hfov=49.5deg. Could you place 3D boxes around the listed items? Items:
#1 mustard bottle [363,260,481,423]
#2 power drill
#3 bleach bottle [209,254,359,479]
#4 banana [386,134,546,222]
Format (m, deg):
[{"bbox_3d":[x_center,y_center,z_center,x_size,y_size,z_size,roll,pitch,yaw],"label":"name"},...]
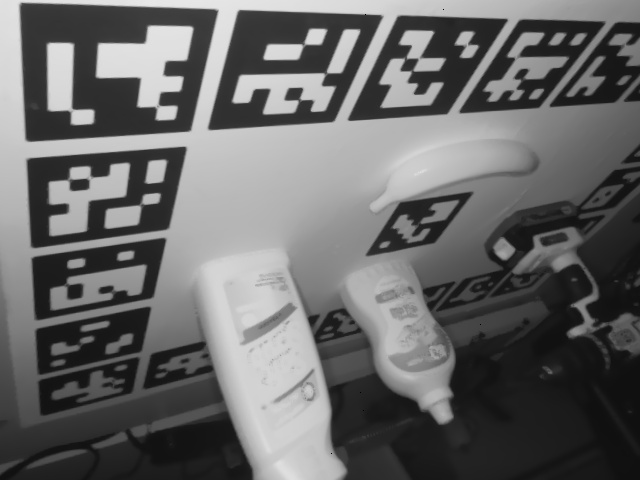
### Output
[{"bbox_3d":[0.126,0.115,0.781,0.097,0.191,0.058,-13,146,-16],"label":"mustard bottle"},{"bbox_3d":[0.319,0.080,0.810,0.187,0.187,0.056,-16,147,-22],"label":"power drill"},{"bbox_3d":[-0.022,0.131,0.637,0.104,0.251,0.067,-4,142,-30],"label":"bleach bottle"},{"bbox_3d":[0.152,-0.067,0.659,0.200,0.039,0.073,-16,145,-22],"label":"banana"}]
